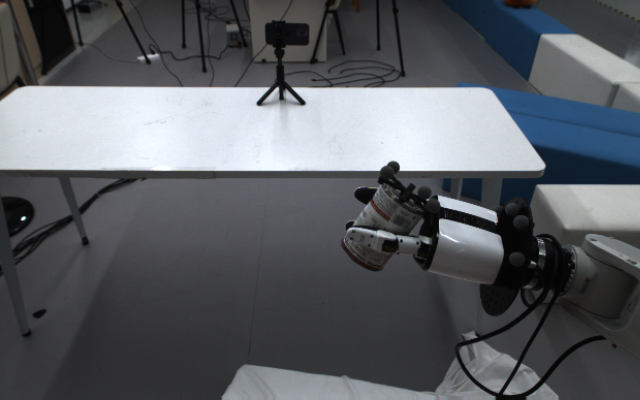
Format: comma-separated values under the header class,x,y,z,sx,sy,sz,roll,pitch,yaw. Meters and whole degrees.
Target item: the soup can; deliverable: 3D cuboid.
class,x,y,z,sx,sy,sz,roll,pitch,yaw
soup can,0.084,0.034,0.634,0.067,0.101,0.067,28,22,-12
